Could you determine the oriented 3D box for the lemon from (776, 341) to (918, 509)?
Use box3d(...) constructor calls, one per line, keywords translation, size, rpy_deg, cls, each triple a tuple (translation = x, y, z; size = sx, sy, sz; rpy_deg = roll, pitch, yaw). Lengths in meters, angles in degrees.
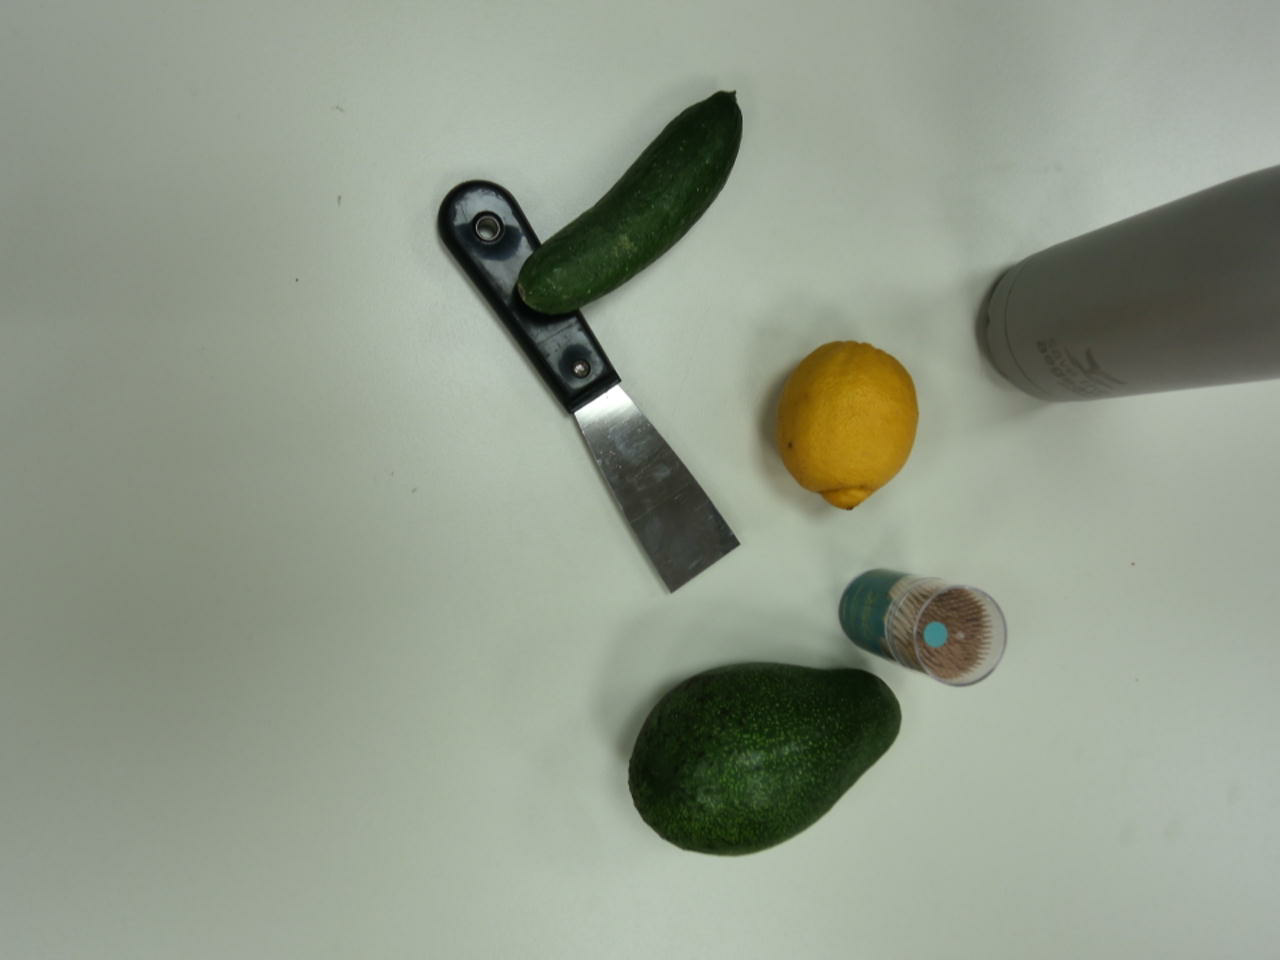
box3d(translation=(0.088, -0.025, 0.428), size=(0.061, 0.059, 0.067), rpy_deg=(32, 84, -10), cls="lemon")
